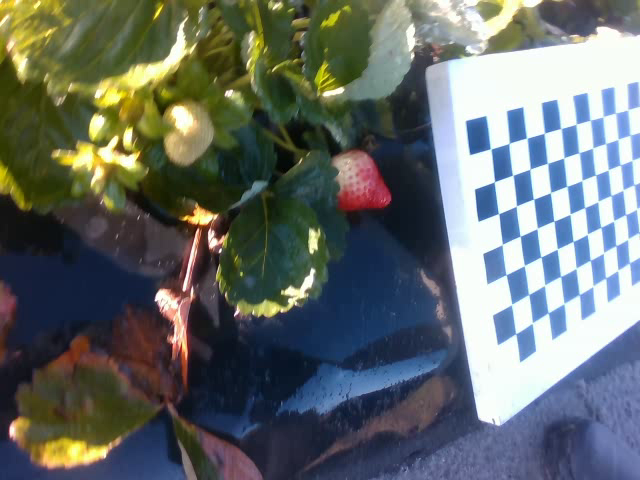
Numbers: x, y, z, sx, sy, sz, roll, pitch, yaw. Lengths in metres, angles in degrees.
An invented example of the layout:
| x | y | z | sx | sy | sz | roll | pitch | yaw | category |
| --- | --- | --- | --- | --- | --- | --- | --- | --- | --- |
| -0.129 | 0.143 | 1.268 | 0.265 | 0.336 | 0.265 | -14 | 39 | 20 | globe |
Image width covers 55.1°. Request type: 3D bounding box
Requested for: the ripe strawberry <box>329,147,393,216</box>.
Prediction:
| x | y | z | sx | sy | sz | roll | pitch | yaw | category |
| --- | --- | --- | --- | --- | --- | --- | --- | --- | --- |
| 0.032 | -0.036 | 0.429 | 0.065 | 0.040 | 0.040 | 31 | -21 | -35 | ripe strawberry |
